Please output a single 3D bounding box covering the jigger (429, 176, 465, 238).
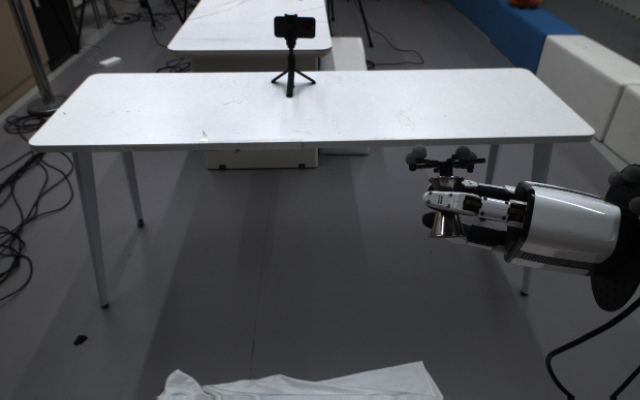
[{"bbox_3d":[0.145,0.009,0.559,0.043,0.071,0.043,1,-5,0],"label":"jigger"}]
